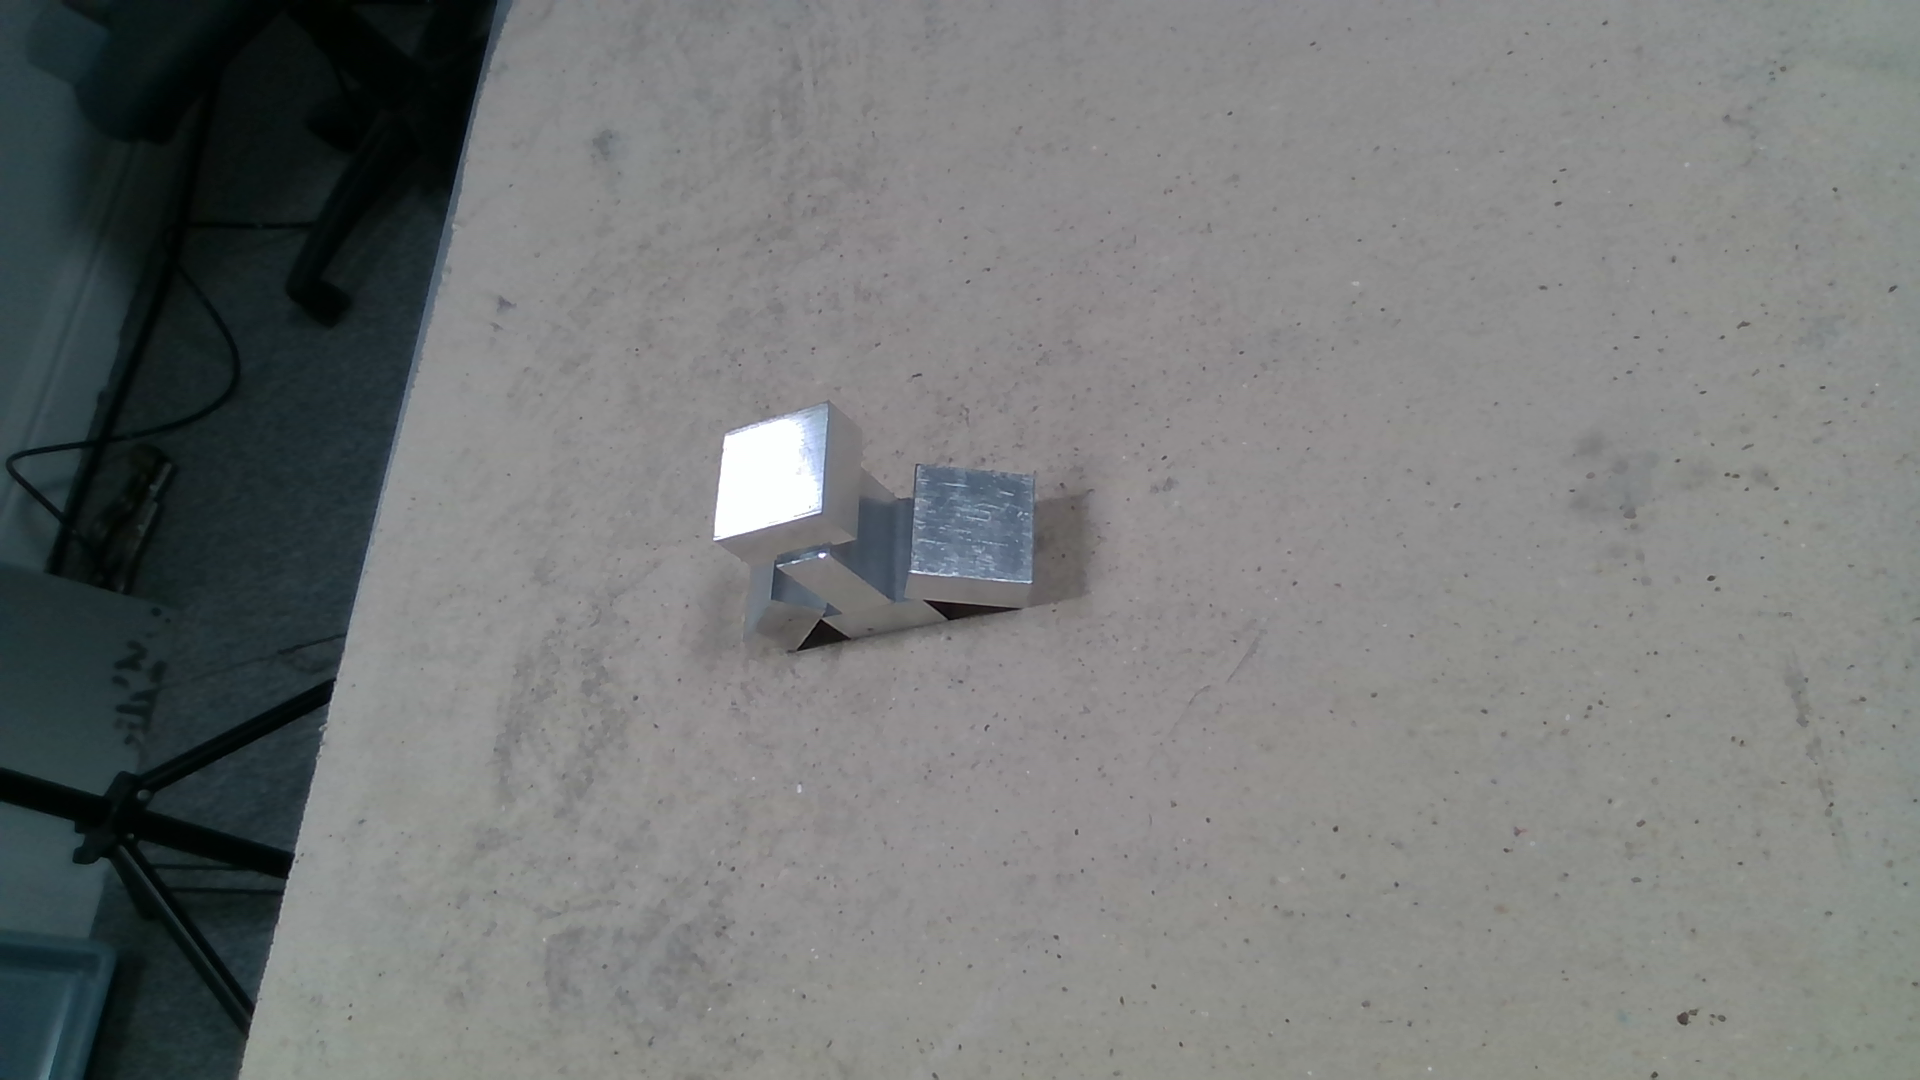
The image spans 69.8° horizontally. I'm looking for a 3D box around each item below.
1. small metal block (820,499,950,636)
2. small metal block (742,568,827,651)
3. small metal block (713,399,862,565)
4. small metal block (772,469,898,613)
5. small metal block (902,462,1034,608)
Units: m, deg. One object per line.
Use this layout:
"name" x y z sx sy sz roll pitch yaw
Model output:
"small metal block" -0.031 0.012 0.600 0.050 0.025 0.050 -12 60 26
"small metal block" -0.076 0.015 0.608 0.050 0.025 0.050 131 146 -57
"small metal block" -0.067 -0.022 0.542 0.050 0.025 0.050 -14 59 25
"small metal block" -0.050 -0.004 0.570 0.025 0.050 0.050 -12 60 26
"small metal block" 0.003 -0.002 0.569 0.050 0.025 0.050 5 63 -6
